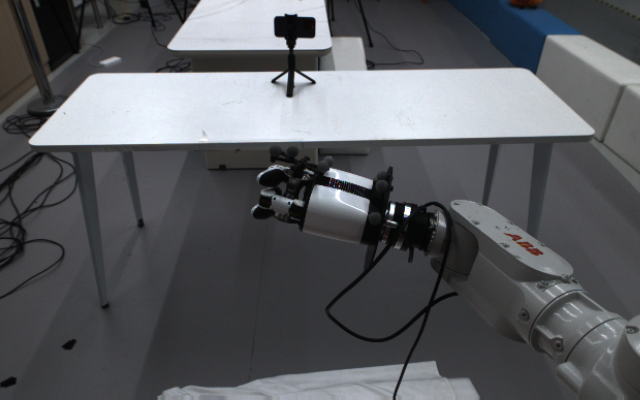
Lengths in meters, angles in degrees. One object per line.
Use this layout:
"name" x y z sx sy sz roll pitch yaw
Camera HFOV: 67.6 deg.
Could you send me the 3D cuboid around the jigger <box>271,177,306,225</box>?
"jigger" -0.039 -0.006 0.704 0.043 0.071 0.043 15 17 -5
